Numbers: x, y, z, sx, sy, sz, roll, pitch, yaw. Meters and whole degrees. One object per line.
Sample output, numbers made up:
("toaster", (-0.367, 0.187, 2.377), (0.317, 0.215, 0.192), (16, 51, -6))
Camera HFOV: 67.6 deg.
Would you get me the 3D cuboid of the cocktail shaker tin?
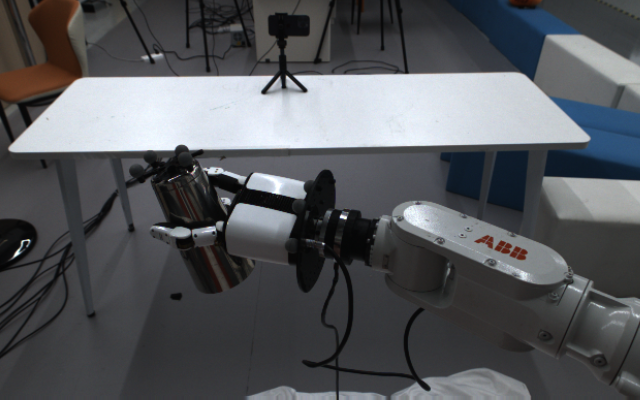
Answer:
("cocktail shaker tin", (-0.161, 0.033, 0.656), (0.093, 0.170, 0.093), (-15, 28, 8))
